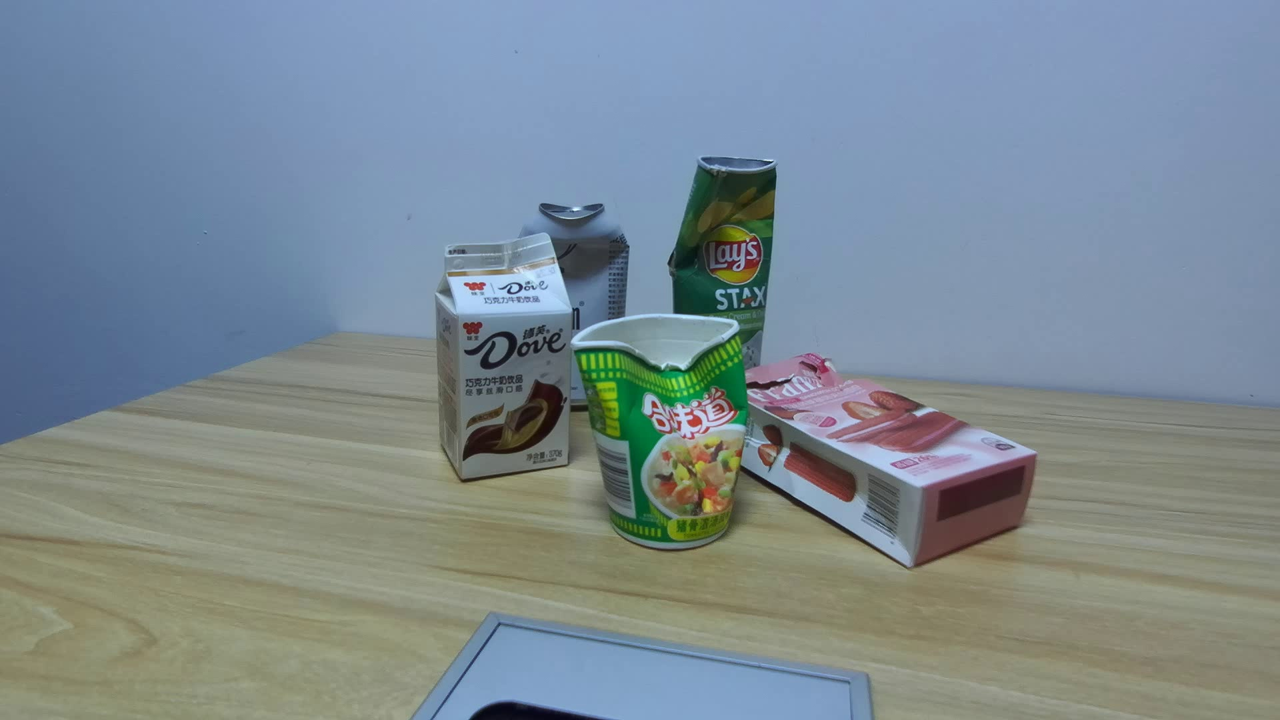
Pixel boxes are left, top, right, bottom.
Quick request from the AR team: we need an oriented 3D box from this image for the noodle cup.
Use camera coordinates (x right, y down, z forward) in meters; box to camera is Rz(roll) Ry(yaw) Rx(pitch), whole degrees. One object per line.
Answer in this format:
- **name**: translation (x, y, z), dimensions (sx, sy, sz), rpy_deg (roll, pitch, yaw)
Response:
- **noodle cup**: translation (0.017, 0.036, 0.386), dimensions (0.082, 0.122, 0.075), rpy_deg (-7, 7, 8)

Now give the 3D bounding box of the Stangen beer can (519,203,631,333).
- **Stangen beer can**: translation (-0.056, -0.043, 0.575), dimensions (0.077, 0.162, 0.065), rpy_deg (-12, 21, -39)

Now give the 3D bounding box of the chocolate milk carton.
- **chocolate milk carton**: translation (-0.090, -0.007, 0.466), dimensions (0.076, 0.148, 0.073), rpy_deg (-4, 17, -25)

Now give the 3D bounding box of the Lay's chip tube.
- **Lay's chip tube**: translation (0.064, -0.055, 0.555), dimensions (0.069, 0.201, 0.077), rpy_deg (6, 20, 16)
